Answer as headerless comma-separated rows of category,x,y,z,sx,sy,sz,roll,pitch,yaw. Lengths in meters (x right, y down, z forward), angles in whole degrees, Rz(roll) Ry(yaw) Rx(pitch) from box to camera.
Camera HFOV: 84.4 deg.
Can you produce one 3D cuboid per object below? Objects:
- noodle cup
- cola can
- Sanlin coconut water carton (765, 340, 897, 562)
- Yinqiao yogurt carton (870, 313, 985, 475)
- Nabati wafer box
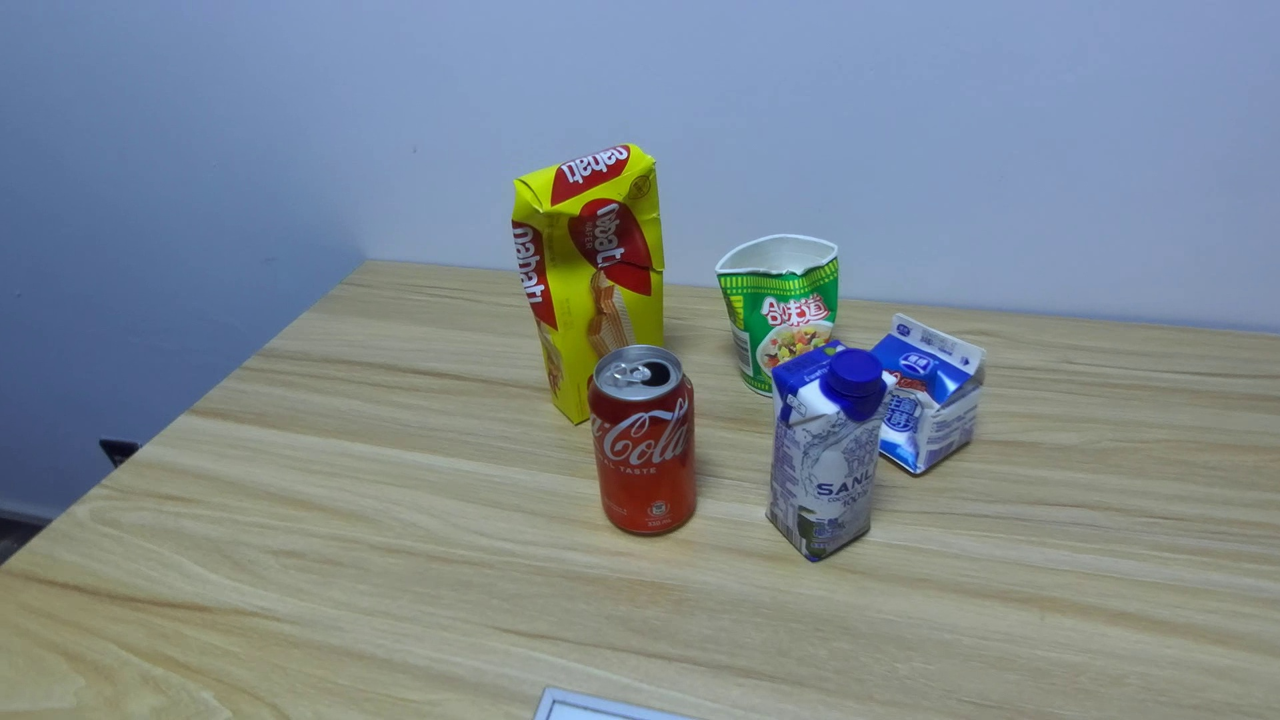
noodle cup,0.118,-0.035,0.575,0.082,0.122,0.075,3,28,26
cola can,0.003,0.053,0.459,0.068,0.120,0.067,-2,37,2
Sanlin coconut water carton,0.113,0.052,0.427,0.061,0.144,0.060,-24,39,-22
Yinqiao yogurt carton,0.200,0.019,0.510,0.071,0.094,0.077,-22,41,-31
Nabati wafer box,-0.034,-0.050,0.534,0.107,0.204,0.042,-22,39,-25
